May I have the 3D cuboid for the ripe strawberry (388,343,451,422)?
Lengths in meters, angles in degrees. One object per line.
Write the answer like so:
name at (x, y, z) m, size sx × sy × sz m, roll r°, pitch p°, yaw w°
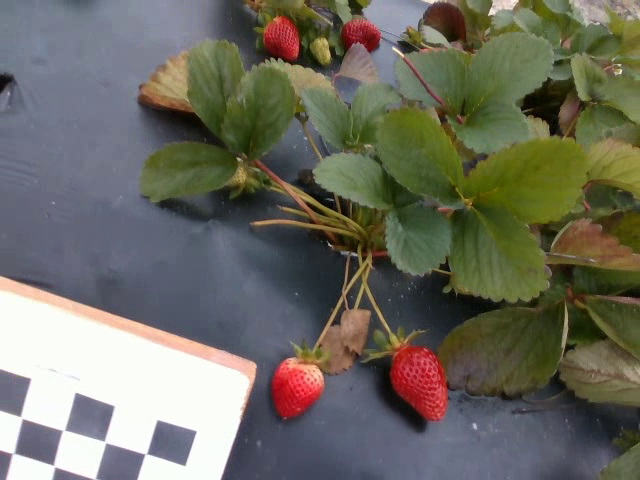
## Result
ripe strawberry at (0.064, 0.090, 0.393) m, size 0.044 × 0.059 × 0.041 m, roll -26°, pitch -13°, yaw 13°

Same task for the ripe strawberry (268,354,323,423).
ripe strawberry at (-0.014, 0.091, 0.377) m, size 0.036 × 0.041 × 0.028 m, roll 21°, pitch -10°, yaw 4°
